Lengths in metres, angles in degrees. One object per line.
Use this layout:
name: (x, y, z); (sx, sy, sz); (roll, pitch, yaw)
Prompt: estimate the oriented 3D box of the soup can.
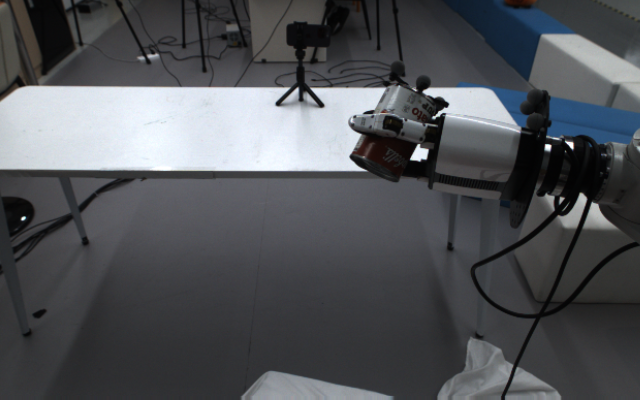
soup can: (0.090, -0.082, 0.589); (0.067, 0.101, 0.067); (29, -2, 1)
